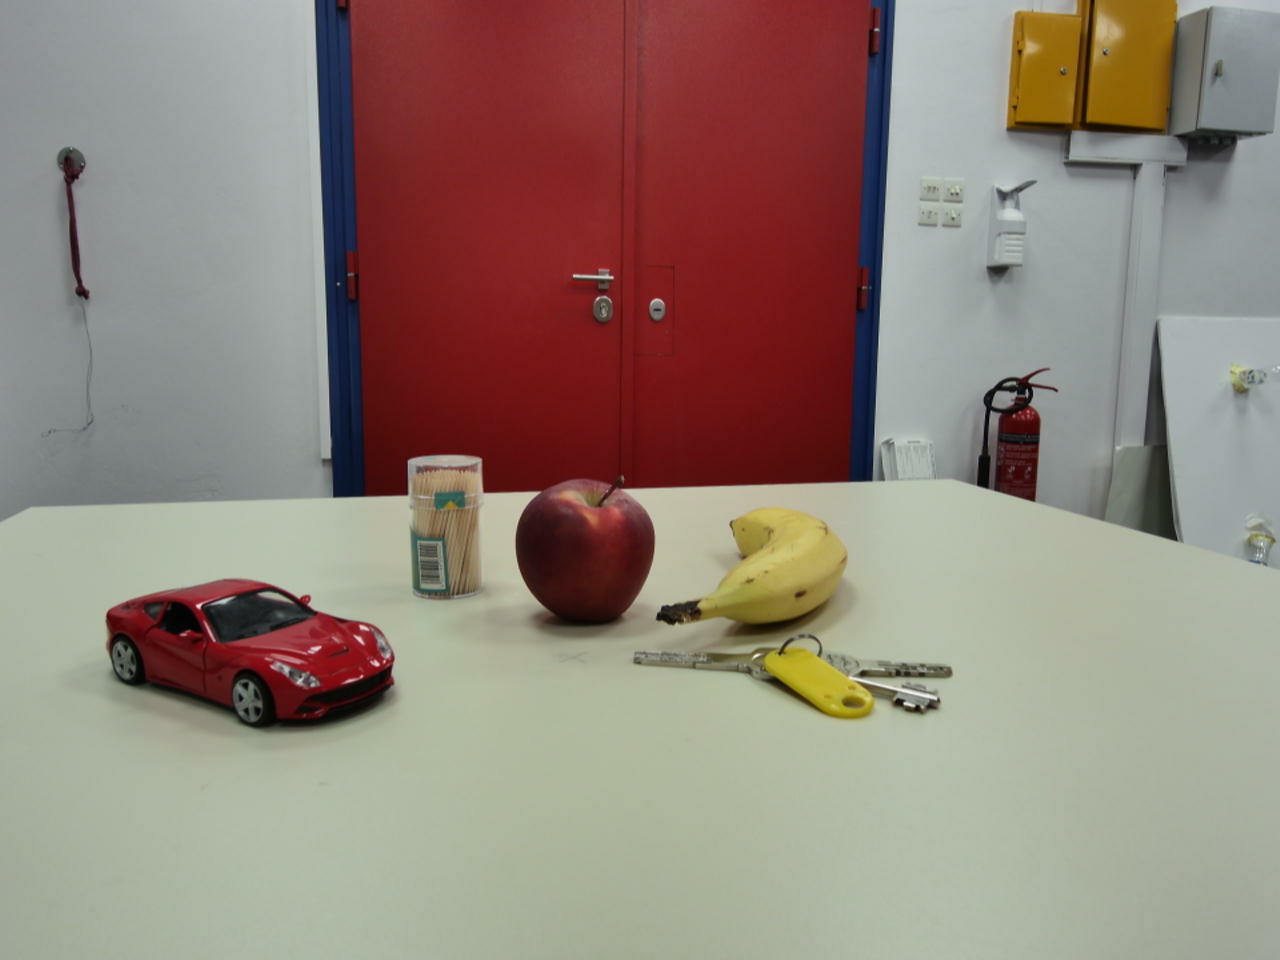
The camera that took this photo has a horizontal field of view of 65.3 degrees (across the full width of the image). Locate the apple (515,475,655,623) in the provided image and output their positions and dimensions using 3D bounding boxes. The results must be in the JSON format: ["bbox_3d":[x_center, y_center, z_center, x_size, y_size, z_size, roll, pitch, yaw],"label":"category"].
[{"bbox_3d":[-0.027,0.033,0.502,0.070,0.072,0.070,-1,7,0],"label":"apple"}]
